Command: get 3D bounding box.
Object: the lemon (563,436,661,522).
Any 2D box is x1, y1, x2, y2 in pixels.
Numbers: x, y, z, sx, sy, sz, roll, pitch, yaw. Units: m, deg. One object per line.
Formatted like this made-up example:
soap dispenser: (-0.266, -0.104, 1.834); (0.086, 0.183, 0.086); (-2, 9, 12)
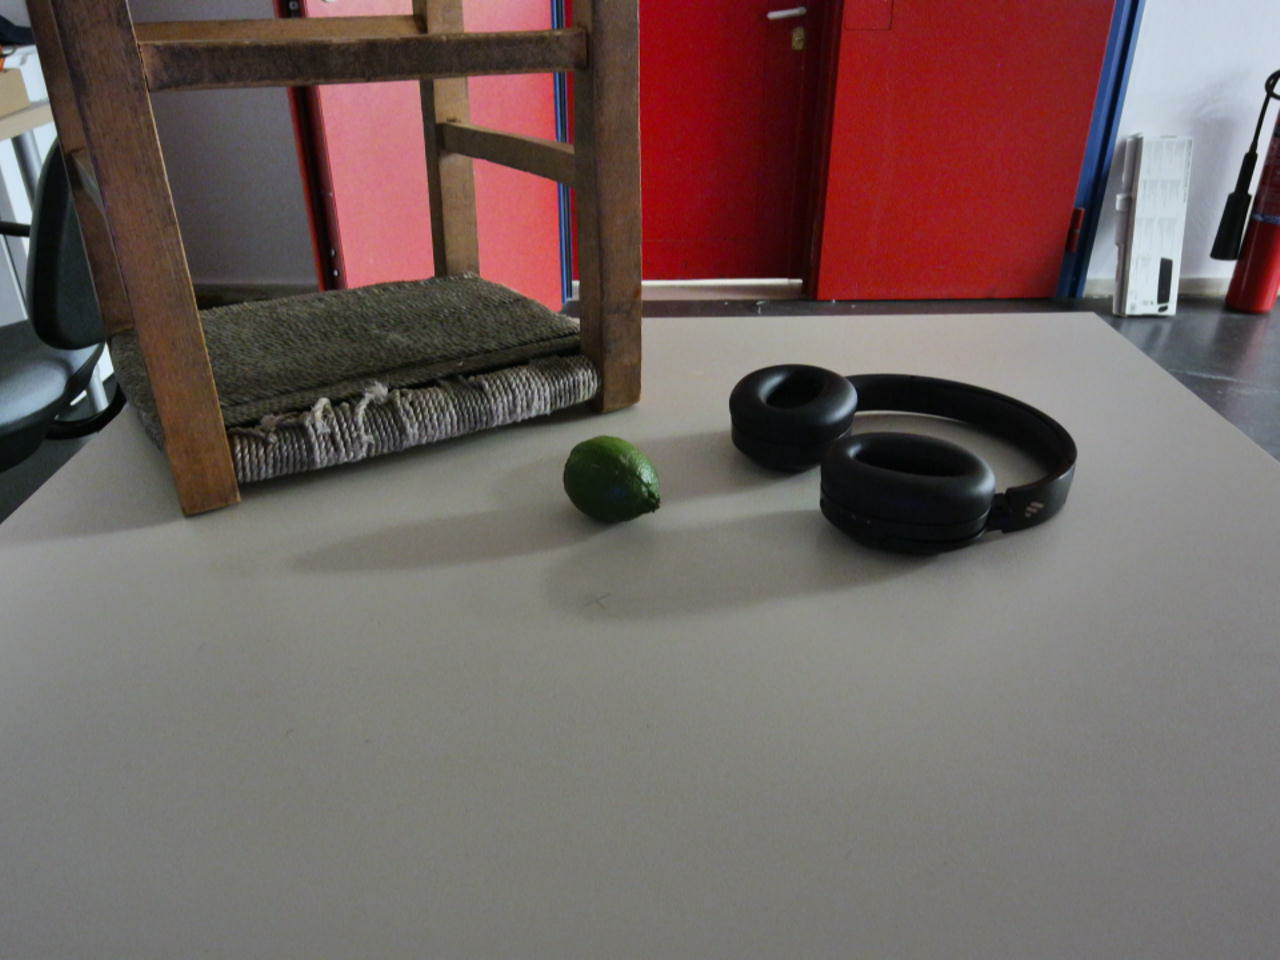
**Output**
lemon: (-0.018, -0.001, 0.604); (0.057, 0.051, 0.054); (-3, 27, -4)
